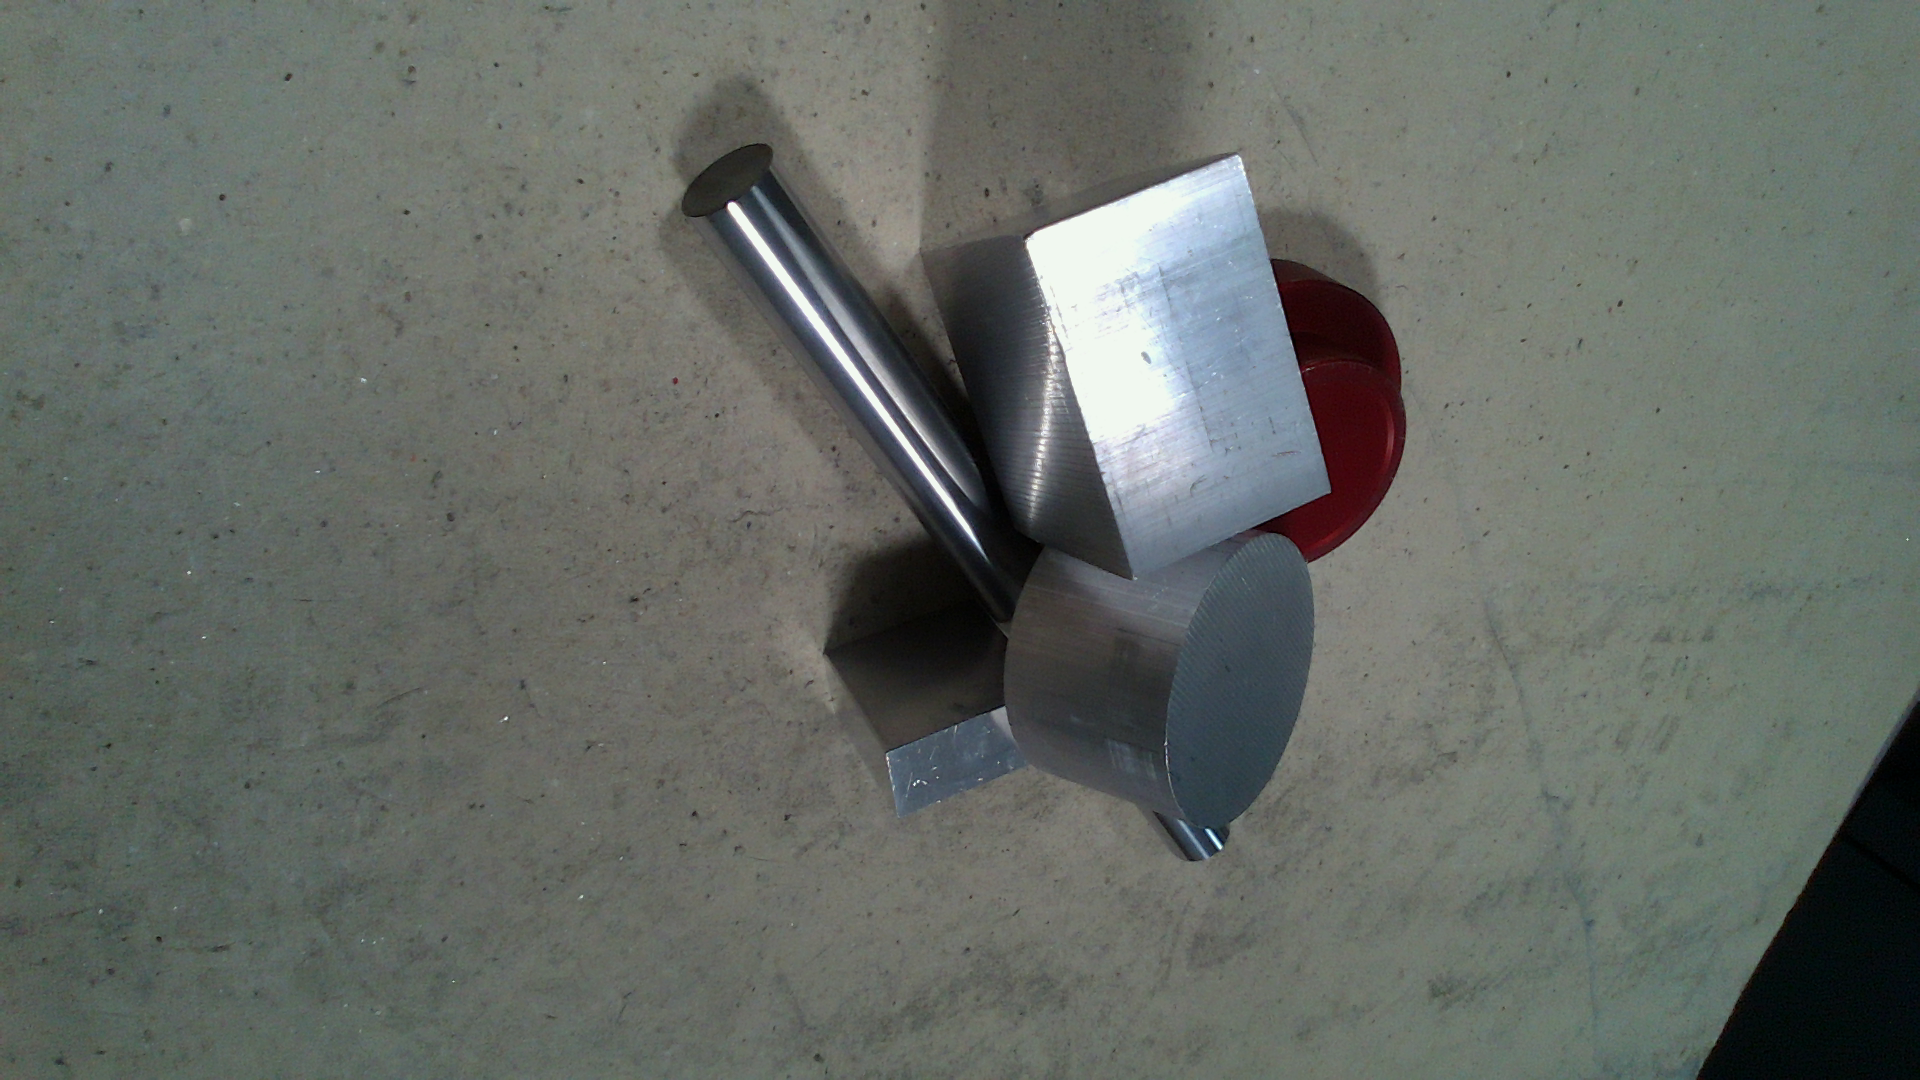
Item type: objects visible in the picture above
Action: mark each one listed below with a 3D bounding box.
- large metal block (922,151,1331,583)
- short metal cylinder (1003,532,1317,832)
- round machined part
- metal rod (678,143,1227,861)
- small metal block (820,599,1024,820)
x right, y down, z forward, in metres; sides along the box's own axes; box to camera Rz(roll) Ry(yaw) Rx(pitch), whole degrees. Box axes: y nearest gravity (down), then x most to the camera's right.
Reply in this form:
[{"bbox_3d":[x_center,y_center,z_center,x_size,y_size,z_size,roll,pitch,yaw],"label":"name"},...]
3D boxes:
[{"bbox_3d":[0.037,-0.043,0.334,0.050,0.080,0.080,-23,105,-13],"label":"large metal block"},{"bbox_3d":[0.056,0.033,0.376,0.080,0.050,0.080,-19,114,-47],"label":"short metal cylinder"},{"bbox_3d":[0.092,-0.029,0.410,0.098,0.042,0.098,-14,124,-21],"label":"round machined part"},{"bbox_3d":[0.016,0.012,0.406,0.025,0.025,0.301,-38,129,-2],"label":"metal rod"},{"bbox_3d":[-0.007,0.047,0.399,0.050,0.050,0.025,-20,125,-17],"label":"small metal block"}]
